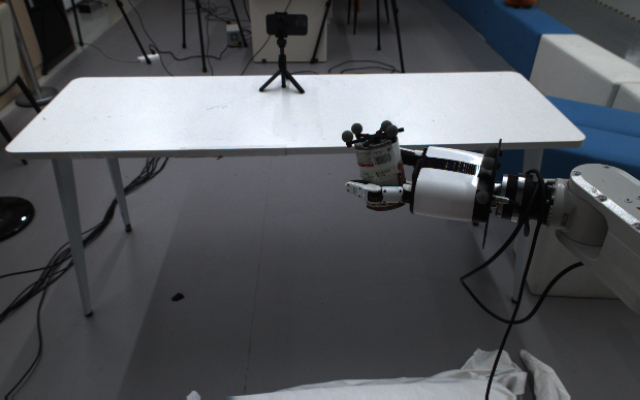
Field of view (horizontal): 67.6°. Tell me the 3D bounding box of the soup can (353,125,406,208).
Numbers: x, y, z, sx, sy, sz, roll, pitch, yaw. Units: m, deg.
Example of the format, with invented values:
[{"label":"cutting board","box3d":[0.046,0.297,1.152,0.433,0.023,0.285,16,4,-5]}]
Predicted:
[{"label":"soup can","box3d":[0.095,-0.043,0.731,0.067,0.101,0.067,-13,20,5]}]
